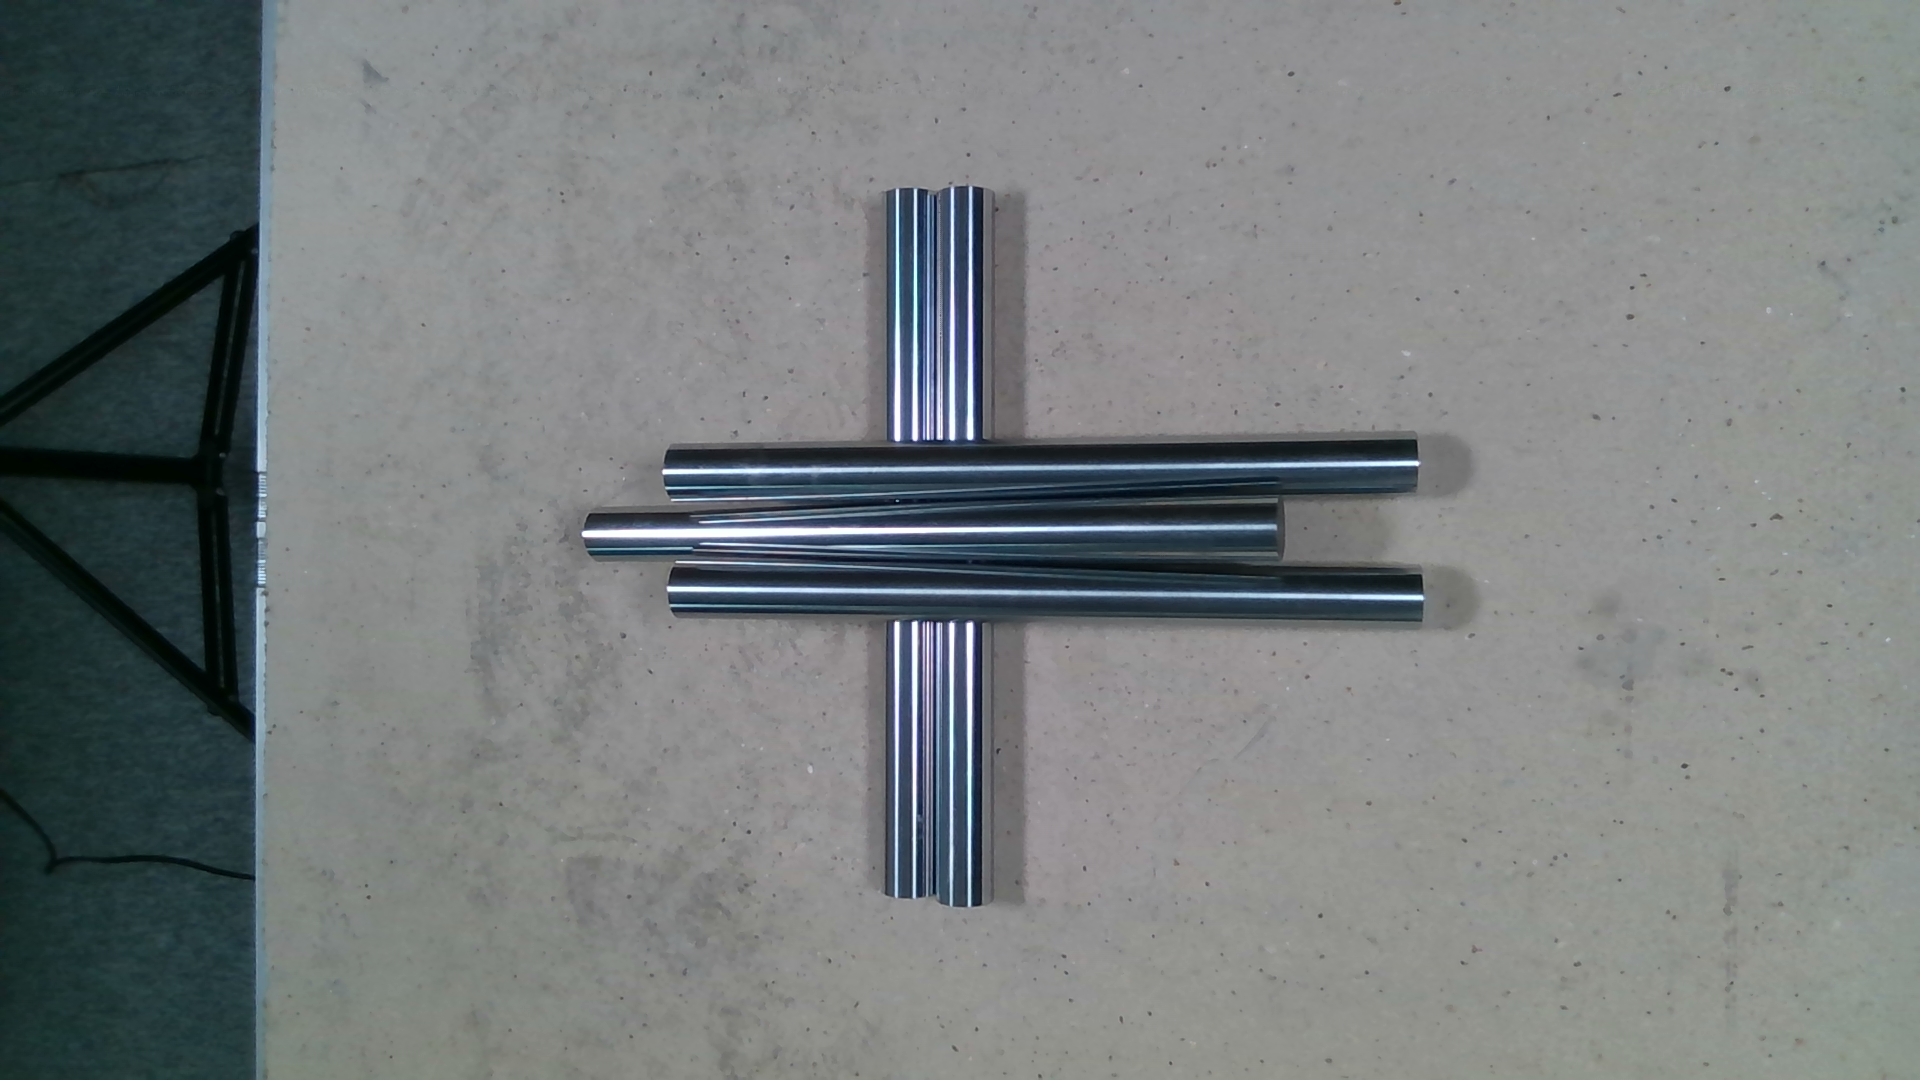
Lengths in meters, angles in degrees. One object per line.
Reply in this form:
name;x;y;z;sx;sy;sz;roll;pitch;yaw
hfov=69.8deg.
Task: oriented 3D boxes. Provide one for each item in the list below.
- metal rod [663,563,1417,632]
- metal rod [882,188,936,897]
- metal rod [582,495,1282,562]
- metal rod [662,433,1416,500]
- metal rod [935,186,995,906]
metal rod;0.025;0.022;0.554;0.300;0.025;0.025;0;90;12
metal rod;-0.021;0.001;0.594;0.025;0.025;0.300;0;91;20
metal rod;-0.021;-0.003;0.566;0.300;0.025;0.025;0;90;20
metal rod;0.025;-0.029;0.554;0.300;0.025;0.025;0;90;12
metal rod;0.002;0.003;0.586;0.025;0.025;0.300;0;91;20
